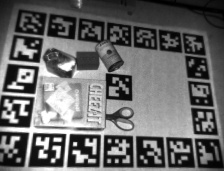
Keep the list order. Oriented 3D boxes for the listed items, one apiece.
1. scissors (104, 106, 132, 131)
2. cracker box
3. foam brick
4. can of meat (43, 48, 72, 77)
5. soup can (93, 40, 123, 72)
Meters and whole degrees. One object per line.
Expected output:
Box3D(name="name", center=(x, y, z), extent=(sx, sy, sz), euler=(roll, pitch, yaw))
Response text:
Box3D(name="scissors", center=(-0.033, 0.114, 0.738), extent=(0.204, 0.016, 0.087), euler=(0, 74, -12))
Box3D(name="cracker box", center=(-0.140, 0.062, 0.698), extent=(0.214, 0.072, 0.163), euler=(-1, 72, -9))
Box3D(name="foam brick", center=(-0.097, -0.091, 0.782), extent=(0.078, 0.051, 0.052), euler=(-6, 75, -14))
Box3D(name="can of meat", center=(-0.189, -0.074, 0.736), extent=(0.102, 0.083, 0.058), euler=(18, 71, -6))
Box3D(name="soup can", center=(-0.016, -0.111, 0.805), extent=(0.068, 0.068, 0.101), euler=(-33, 77, -19))
